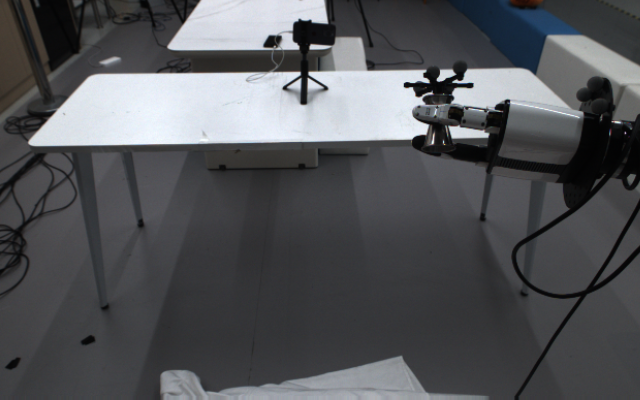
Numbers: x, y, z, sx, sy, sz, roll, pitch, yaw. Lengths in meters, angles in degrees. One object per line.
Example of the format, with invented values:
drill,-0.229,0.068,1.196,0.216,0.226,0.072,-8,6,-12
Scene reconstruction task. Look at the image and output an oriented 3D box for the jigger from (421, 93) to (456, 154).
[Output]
jigger,0.151,-0.100,0.630,0.043,0.071,0.043,2,-6,0
